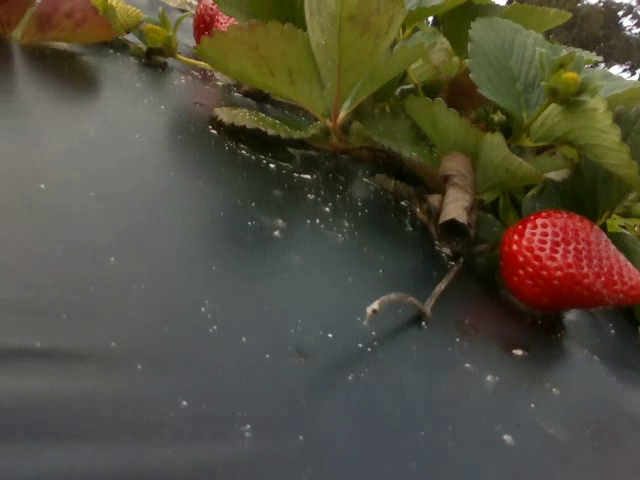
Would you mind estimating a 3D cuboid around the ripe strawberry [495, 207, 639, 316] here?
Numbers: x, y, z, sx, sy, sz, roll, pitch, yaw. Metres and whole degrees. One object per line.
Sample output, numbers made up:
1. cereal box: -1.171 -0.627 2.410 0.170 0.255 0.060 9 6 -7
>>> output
1. ripe strawberry: 0.071 0.005 0.176 0.037 0.037 0.046 -35 44 -24
